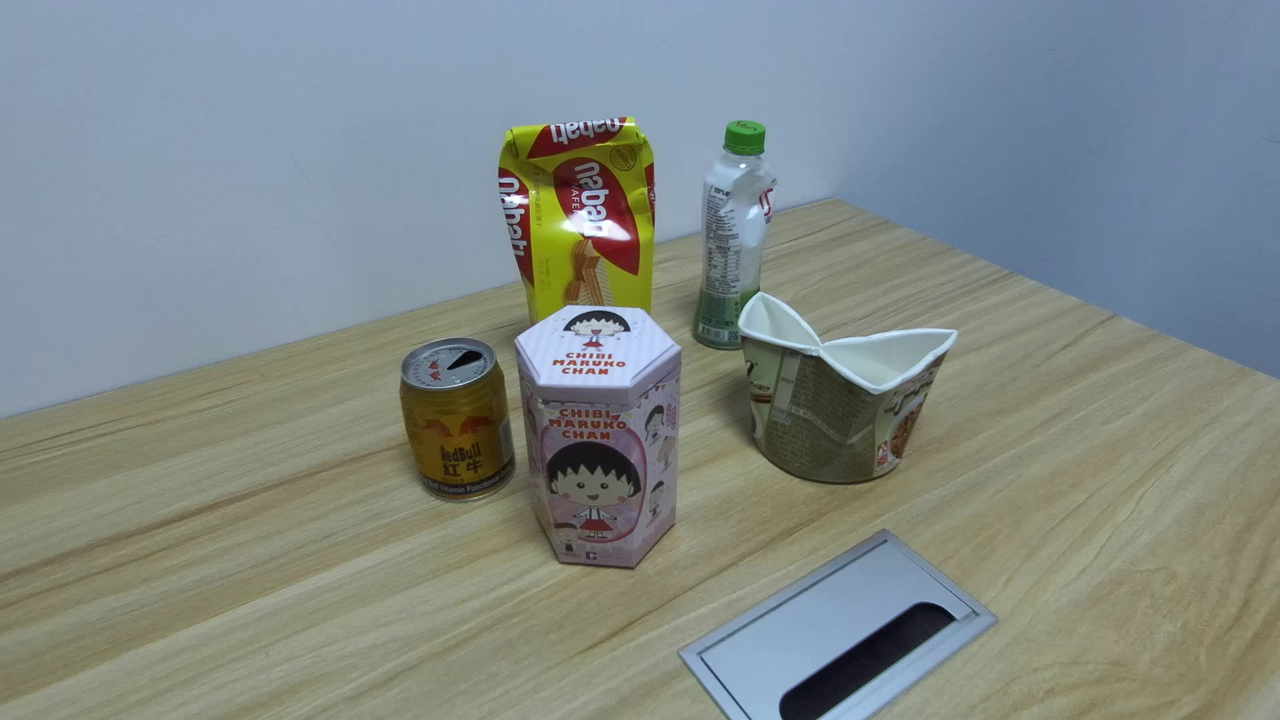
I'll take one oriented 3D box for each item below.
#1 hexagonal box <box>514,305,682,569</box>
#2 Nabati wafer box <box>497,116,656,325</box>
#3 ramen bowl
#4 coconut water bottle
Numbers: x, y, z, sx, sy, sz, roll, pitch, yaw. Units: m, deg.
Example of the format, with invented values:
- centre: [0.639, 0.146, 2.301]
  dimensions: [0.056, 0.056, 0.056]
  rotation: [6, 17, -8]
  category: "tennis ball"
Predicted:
- centre: [-0.023, 0.047, 0.417]
  dimensions: [0.091, 0.136, 0.084]
  rotation: [2, 33, 4]
  category: "hexagonal box"
- centre: [-0.042, -0.077, 0.544]
  dimensions: [0.113, 0.205, 0.042]
  rotation: [-10, 33, -12]
  category: "Nabati wafer box"
- centre: [0.132, 0.014, 0.502]
  dimensions: [0.127, 0.093, 0.112]
  rotation: [27, 43, 34]
  category: "ramen bowl"
- centre: [0.080, -0.102, 0.591]
  dimensions: [0.069, 0.187, 0.069]
  rotation: [1, 31, -1]
  category: "coconut water bottle"
